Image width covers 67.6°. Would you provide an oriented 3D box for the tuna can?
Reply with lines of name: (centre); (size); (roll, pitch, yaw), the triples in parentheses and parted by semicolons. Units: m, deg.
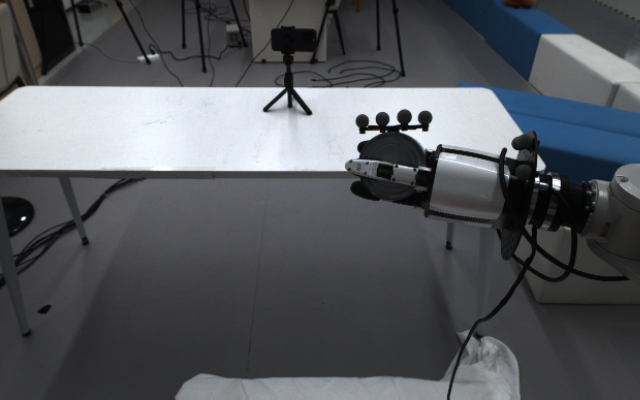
tuna can: (0.095, -0.045, 0.619); (0.085, 0.085, 0.034); (15, 10, 18)
